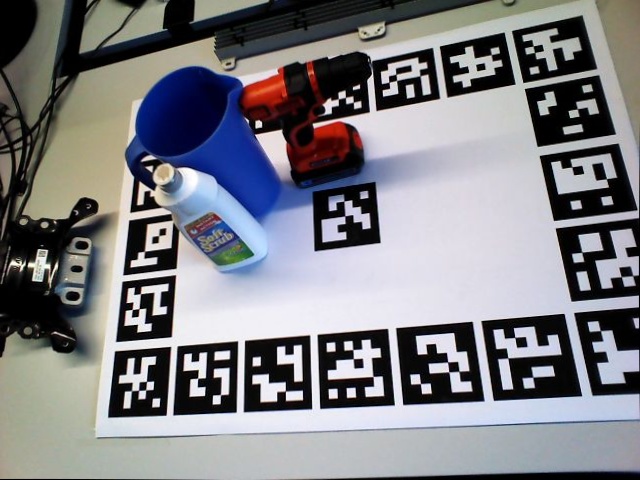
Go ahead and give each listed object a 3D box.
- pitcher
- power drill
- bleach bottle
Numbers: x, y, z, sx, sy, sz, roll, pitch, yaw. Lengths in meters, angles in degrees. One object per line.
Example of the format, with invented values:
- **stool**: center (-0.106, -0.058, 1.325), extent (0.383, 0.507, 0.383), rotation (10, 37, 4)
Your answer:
- **pitcher**: center (-0.132, -0.114, 0.735), extent (0.189, 0.242, 0.133), rotation (-33, 66, 4)
- **power drill**: center (0.031, -0.152, 0.708), extent (0.185, 0.187, 0.057), rotation (-12, 70, 7)
- **bleach bottle**: center (-0.144, -0.025, 0.684), extent (0.103, 0.250, 0.067), rotation (-16, 67, 12)
